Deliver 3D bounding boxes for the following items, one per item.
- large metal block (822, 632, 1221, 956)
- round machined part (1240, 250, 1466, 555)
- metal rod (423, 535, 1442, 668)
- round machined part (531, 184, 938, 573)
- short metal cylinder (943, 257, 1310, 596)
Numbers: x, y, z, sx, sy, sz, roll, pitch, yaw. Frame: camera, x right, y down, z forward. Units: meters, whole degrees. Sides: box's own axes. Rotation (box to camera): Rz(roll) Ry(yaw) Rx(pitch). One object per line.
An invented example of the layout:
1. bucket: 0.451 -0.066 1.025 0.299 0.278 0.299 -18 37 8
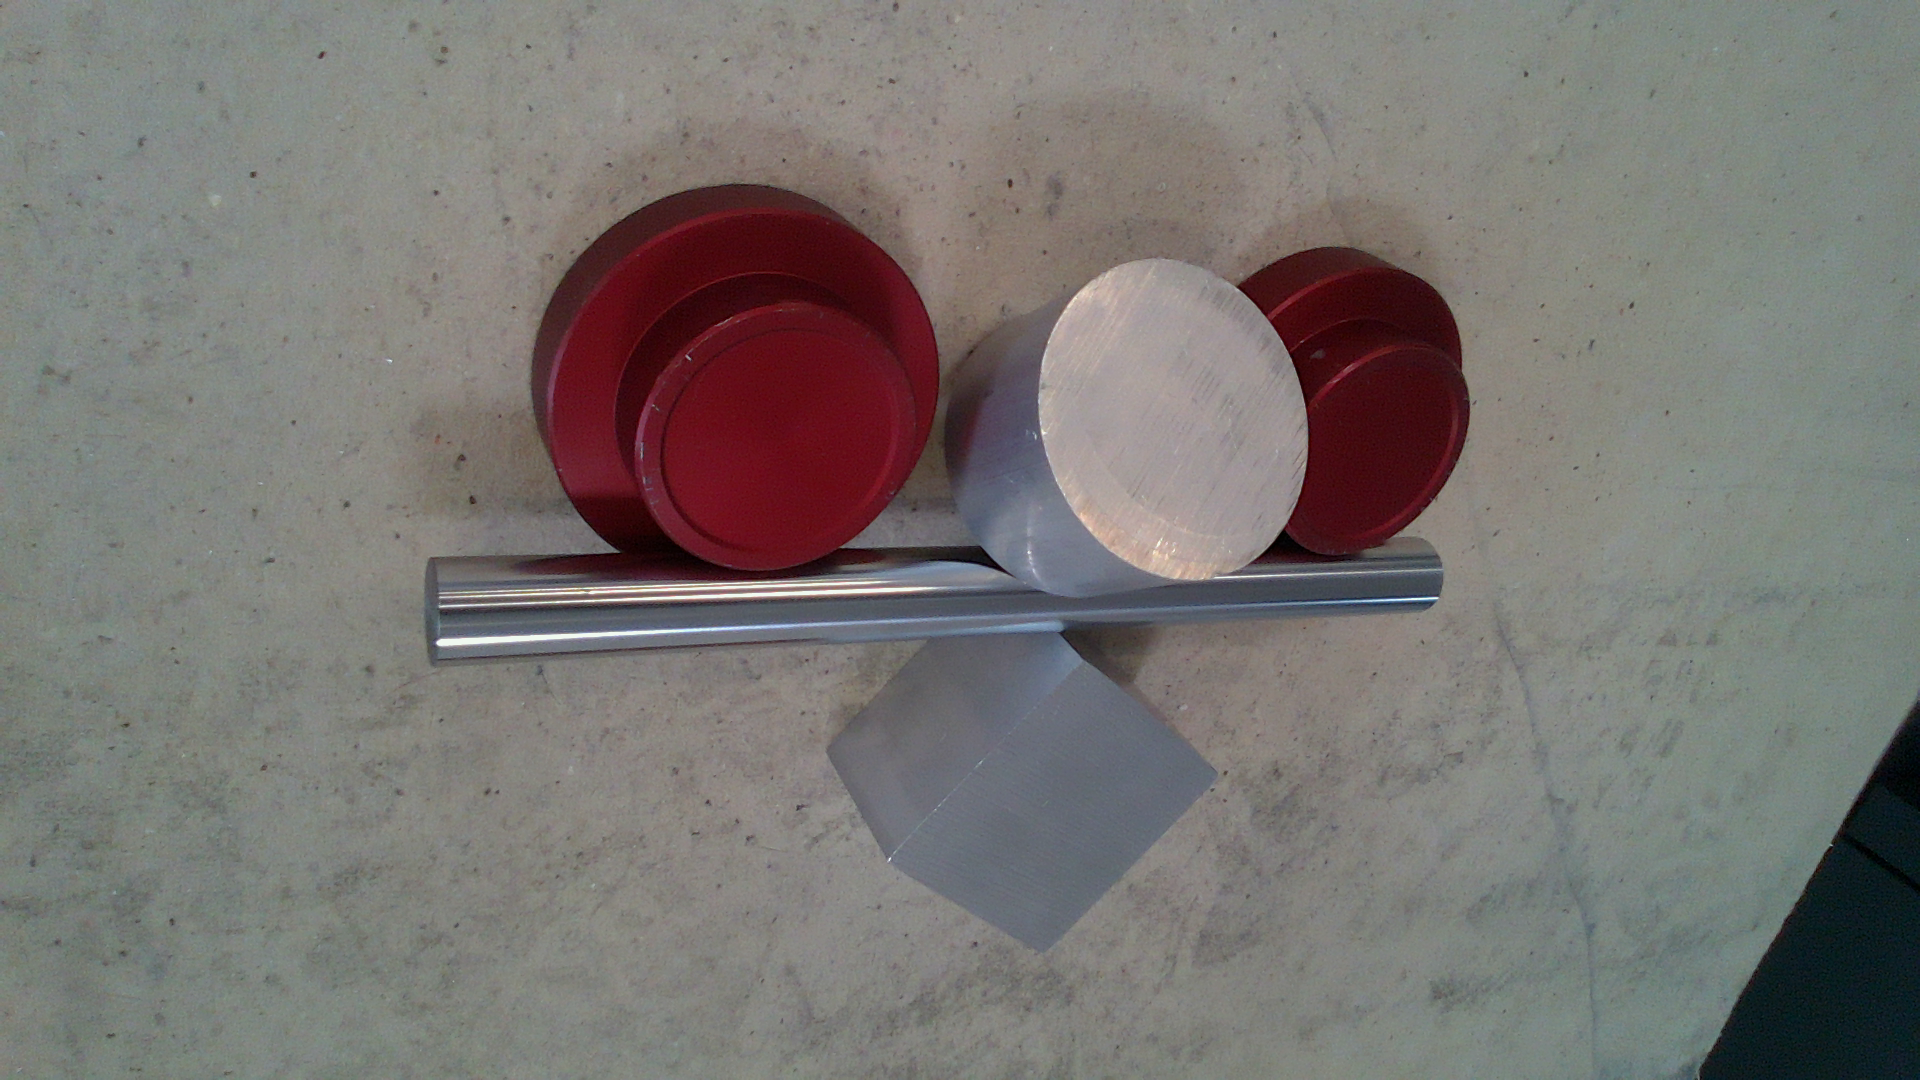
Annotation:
1. large metal block: 0.019 0.070 0.424 0.080 0.050 0.080 -46 129 4
2. round machined part: 0.113 -0.035 0.418 0.098 0.042 0.098 -14 124 -21
3. metal rod: 0.014 0.013 0.378 0.301 0.025 0.025 -1 119 -28
4. round machined part: -0.050 -0.032 0.331 0.098 0.042 0.098 -14 124 -21
5. short metal cylinder: 0.043 -0.027 0.356 0.080 0.050 0.080 4 81 -27
